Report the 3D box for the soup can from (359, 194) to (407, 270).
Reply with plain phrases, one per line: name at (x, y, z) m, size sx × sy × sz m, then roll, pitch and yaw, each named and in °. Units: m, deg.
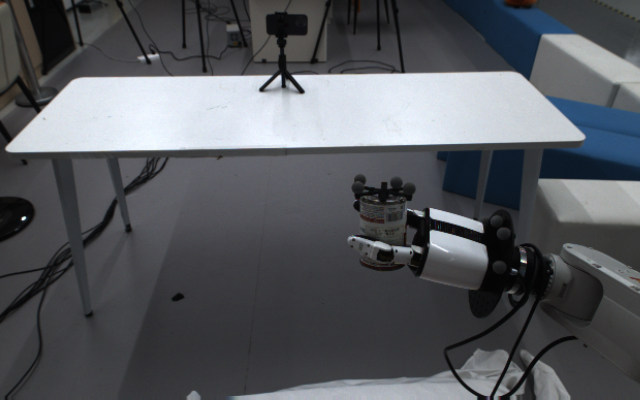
soup can at (0.092, 0.041, 0.688) m, size 0.067 × 0.101 × 0.067 m, roll -2°, pitch 17°, yaw 0°
